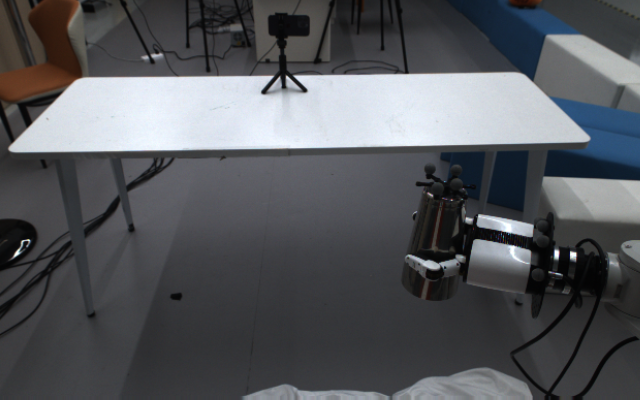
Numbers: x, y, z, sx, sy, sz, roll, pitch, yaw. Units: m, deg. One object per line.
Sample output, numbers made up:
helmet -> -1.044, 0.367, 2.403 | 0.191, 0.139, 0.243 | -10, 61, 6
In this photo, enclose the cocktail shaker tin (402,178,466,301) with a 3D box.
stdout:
cocktail shaker tin -> 0.184, 0.059, 0.756 | 0.093, 0.170, 0.093 | 2, 28, -1
